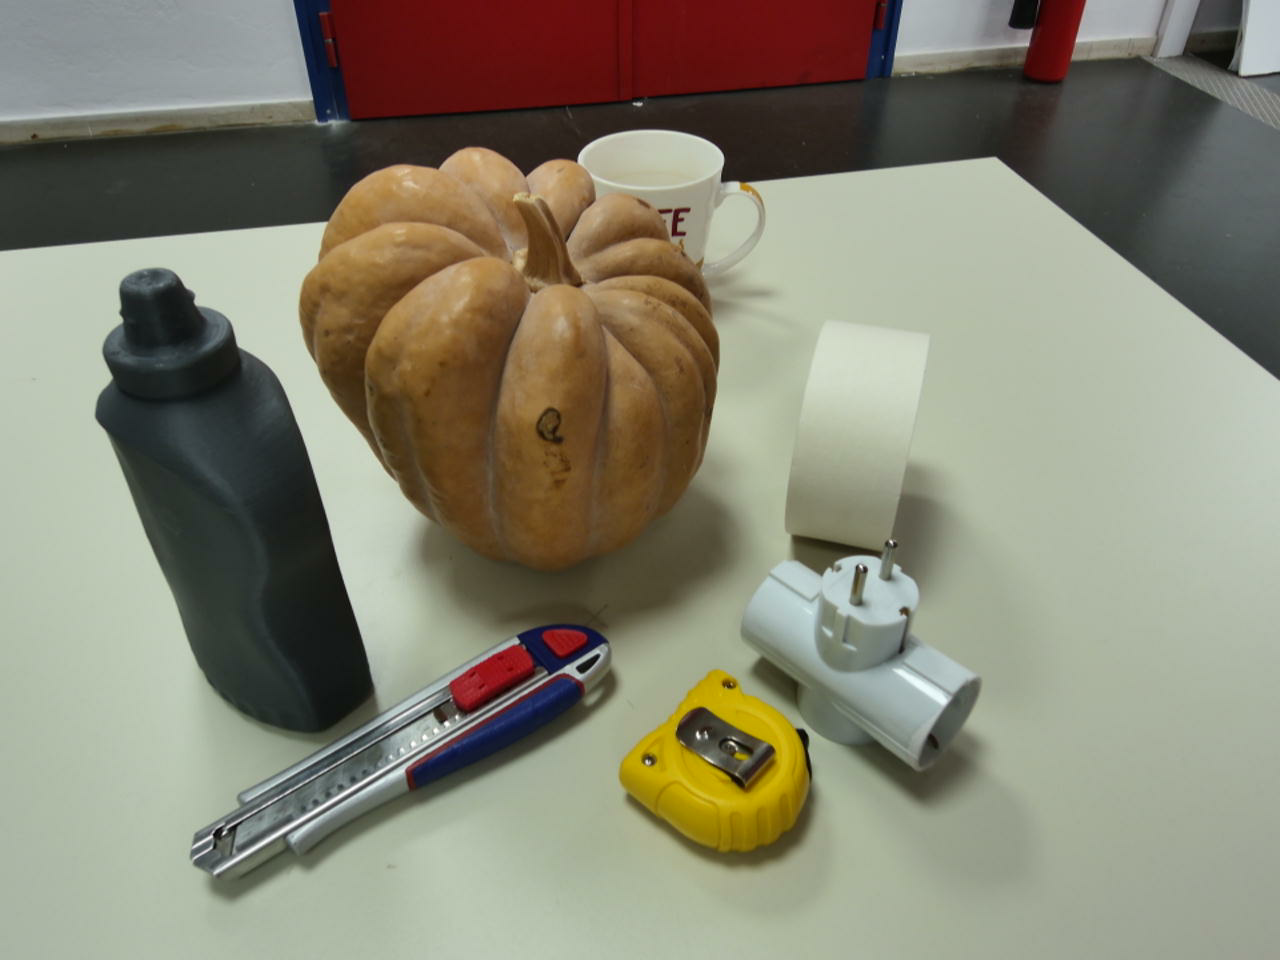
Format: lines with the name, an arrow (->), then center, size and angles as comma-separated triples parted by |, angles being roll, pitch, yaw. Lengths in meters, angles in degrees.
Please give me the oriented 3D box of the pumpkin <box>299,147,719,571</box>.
pumpkin -> -0.055, -0.055, 0.471 | 0.199, 0.177, 0.198 | 0, 39, 0
